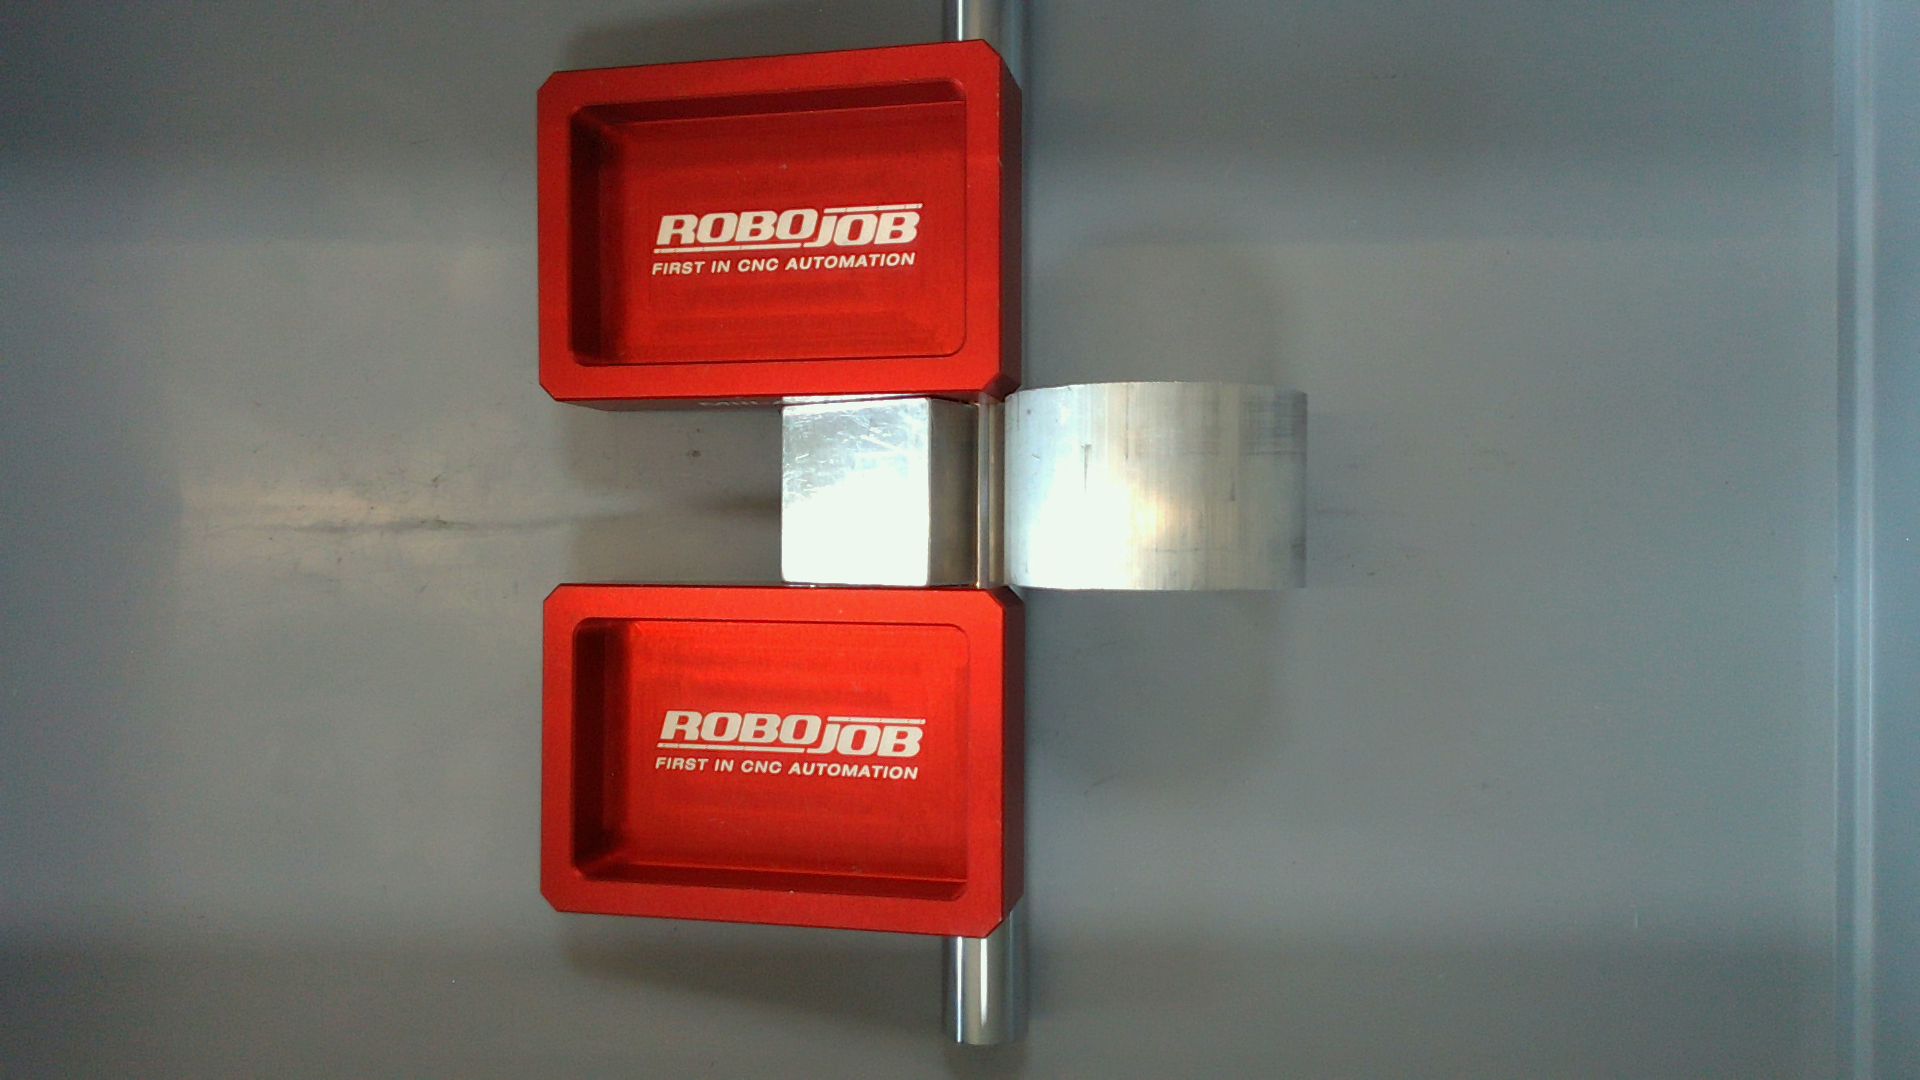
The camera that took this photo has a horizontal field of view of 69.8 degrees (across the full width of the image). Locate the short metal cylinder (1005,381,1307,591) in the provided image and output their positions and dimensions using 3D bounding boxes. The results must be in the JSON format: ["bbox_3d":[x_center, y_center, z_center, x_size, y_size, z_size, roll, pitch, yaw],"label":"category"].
[{"bbox_3d":[0.052,-0.013,0.367,0.080,0.080,0.050,0,90,0],"label":"short metal cylinder"}]

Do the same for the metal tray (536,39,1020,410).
[{"bbox_3d":[-0.050,-0.083,0.377,0.130,0.030,0.090,0,90,12],"label":"metal tray"}]

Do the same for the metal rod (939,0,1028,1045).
[{"bbox_3d":[0.007,-0.010,0.394,0.025,0.025,0.300,0,90,0],"label":"metal rod"}]

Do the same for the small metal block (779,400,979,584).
[{"bbox_3d":[-0.023,-0.013,0.383,0.050,0.025,0.050,1,90,31],"label":"small metal block"}]

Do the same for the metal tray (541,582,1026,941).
[{"bbox_3d":[-0.049,0.057,0.378,0.130,0.030,0.090,0,90,12],"label":"metal tray"}]
